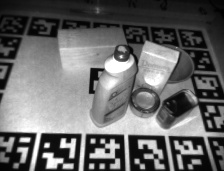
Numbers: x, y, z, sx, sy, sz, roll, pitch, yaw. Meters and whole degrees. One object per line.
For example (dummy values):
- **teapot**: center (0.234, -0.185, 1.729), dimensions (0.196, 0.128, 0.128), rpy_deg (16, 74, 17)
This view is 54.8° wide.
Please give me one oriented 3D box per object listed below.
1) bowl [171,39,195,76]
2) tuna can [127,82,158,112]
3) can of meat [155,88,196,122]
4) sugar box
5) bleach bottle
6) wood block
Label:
- **bowl**: center (0.187, -0.086, 0.717), dimensions (0.162, 0.055, 0.161), rpy_deg (2, 56, -2)
- **tuna can**: center (0.088, 0.035, 0.633), dimensions (0.086, 0.034, 0.085), rpy_deg (3, 59, -5)
- **can of meat**: center (0.175, 0.048, 0.614), dimensions (0.102, 0.084, 0.057), rpy_deg (-25, 59, -23)
- **sugar box**: center (0.115, -0.055, 0.610), dimensions (0.092, 0.177, 0.045), rpy_deg (17, 58, 9)
- **bleach bottle**: center (-0.002, -0.006, 0.521), dimensions (0.103, 0.251, 0.067), rpy_deg (-22, 60, -19)
- **wood block**: center (-0.071, -0.139, 0.700), dimensions (0.207, 0.090, 0.090), rpy_deg (-6, 62, -12)
